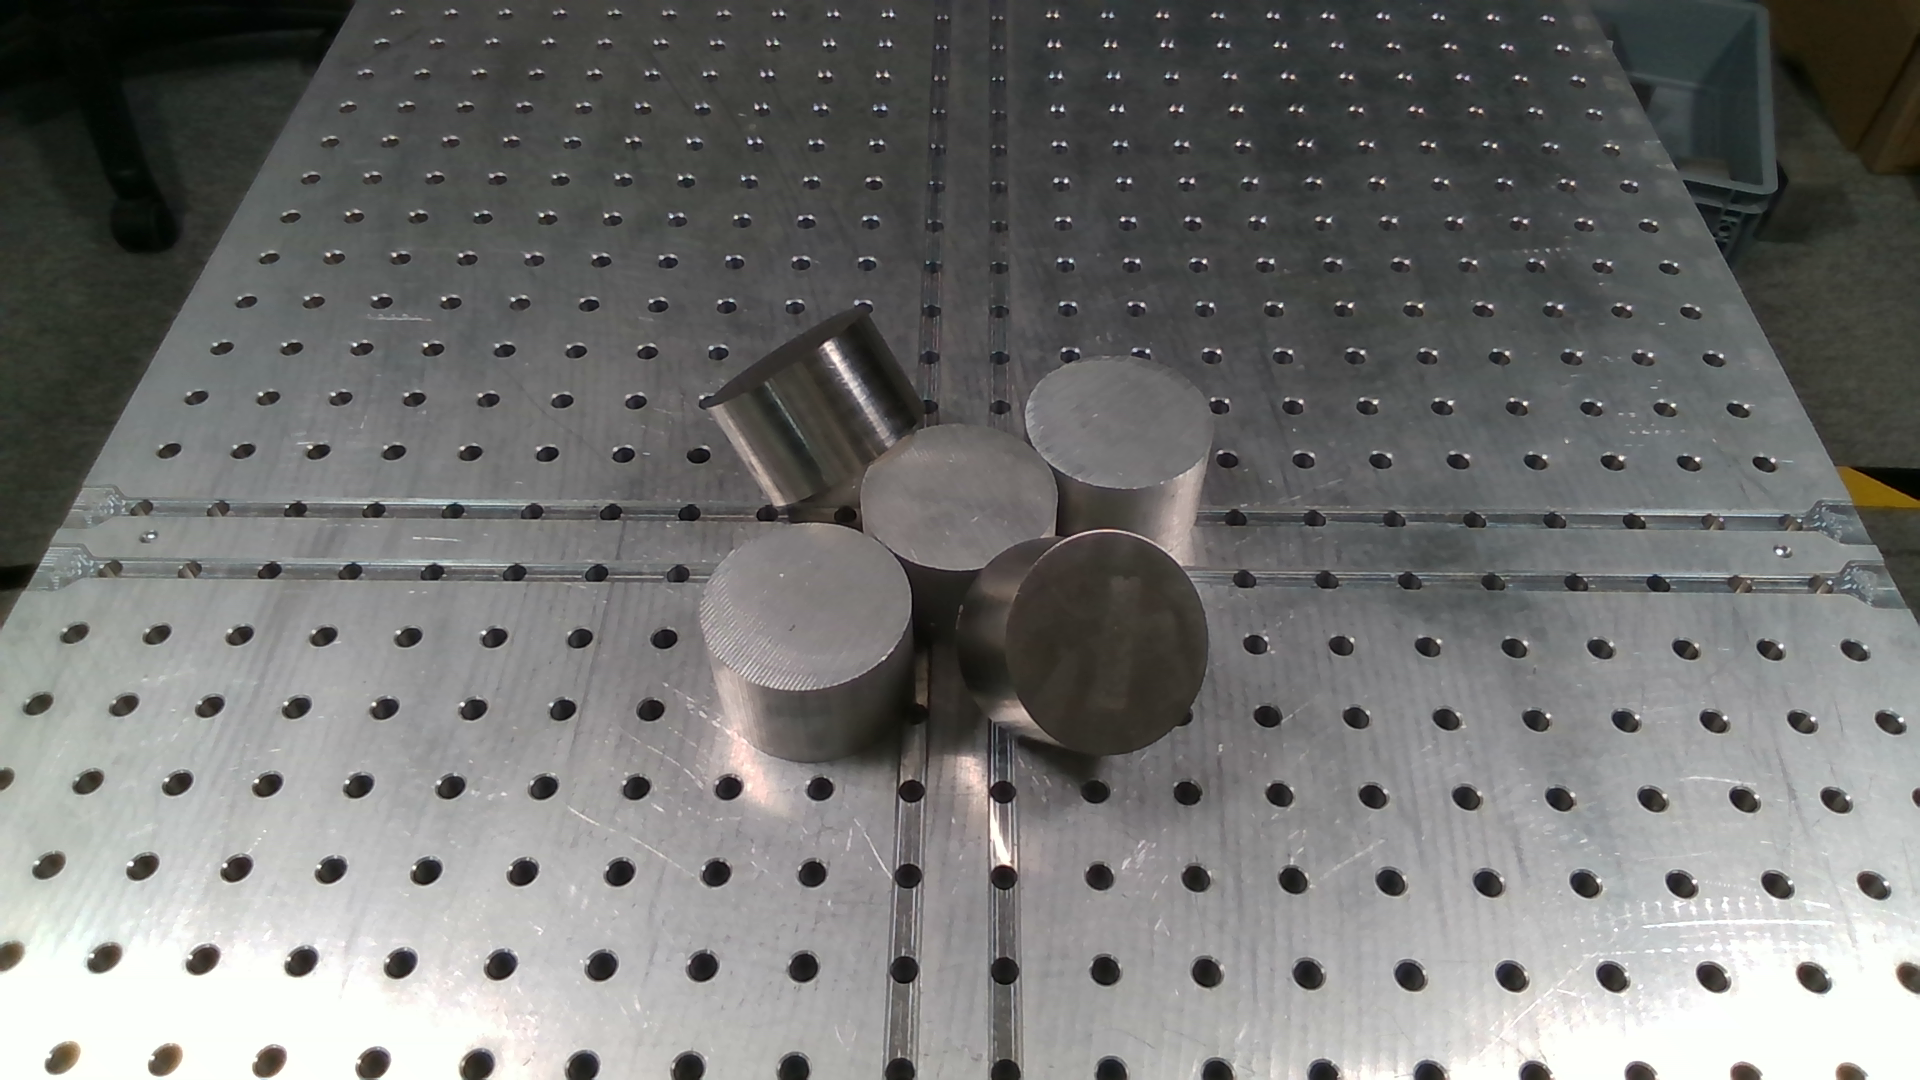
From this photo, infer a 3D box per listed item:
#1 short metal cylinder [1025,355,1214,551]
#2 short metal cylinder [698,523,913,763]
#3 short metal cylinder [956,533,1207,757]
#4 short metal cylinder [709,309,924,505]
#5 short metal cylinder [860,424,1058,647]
[{"bbox_3d":[0.068,-0.035,0.603,0.080,0.050,0.080,0,50,0],"label":"short metal cylinder"},{"bbox_3d":[-0.059,0.040,0.540,0.080,0.050,0.080,0,50,0],"label":"short metal cylinder"},{"bbox_3d":[0.045,0.039,0.515,0.080,0.050,0.080,1,87,-20],"label":"short metal cylinder"},{"bbox_3d":[-0.063,-0.058,0.596,0.080,0.050,0.080,-29,17,10],"label":"short metal cylinder"},{"bbox_3d":[0.000,-0.002,0.576,0.080,0.050,0.080,0,50,0],"label":"short metal cylinder"}]
